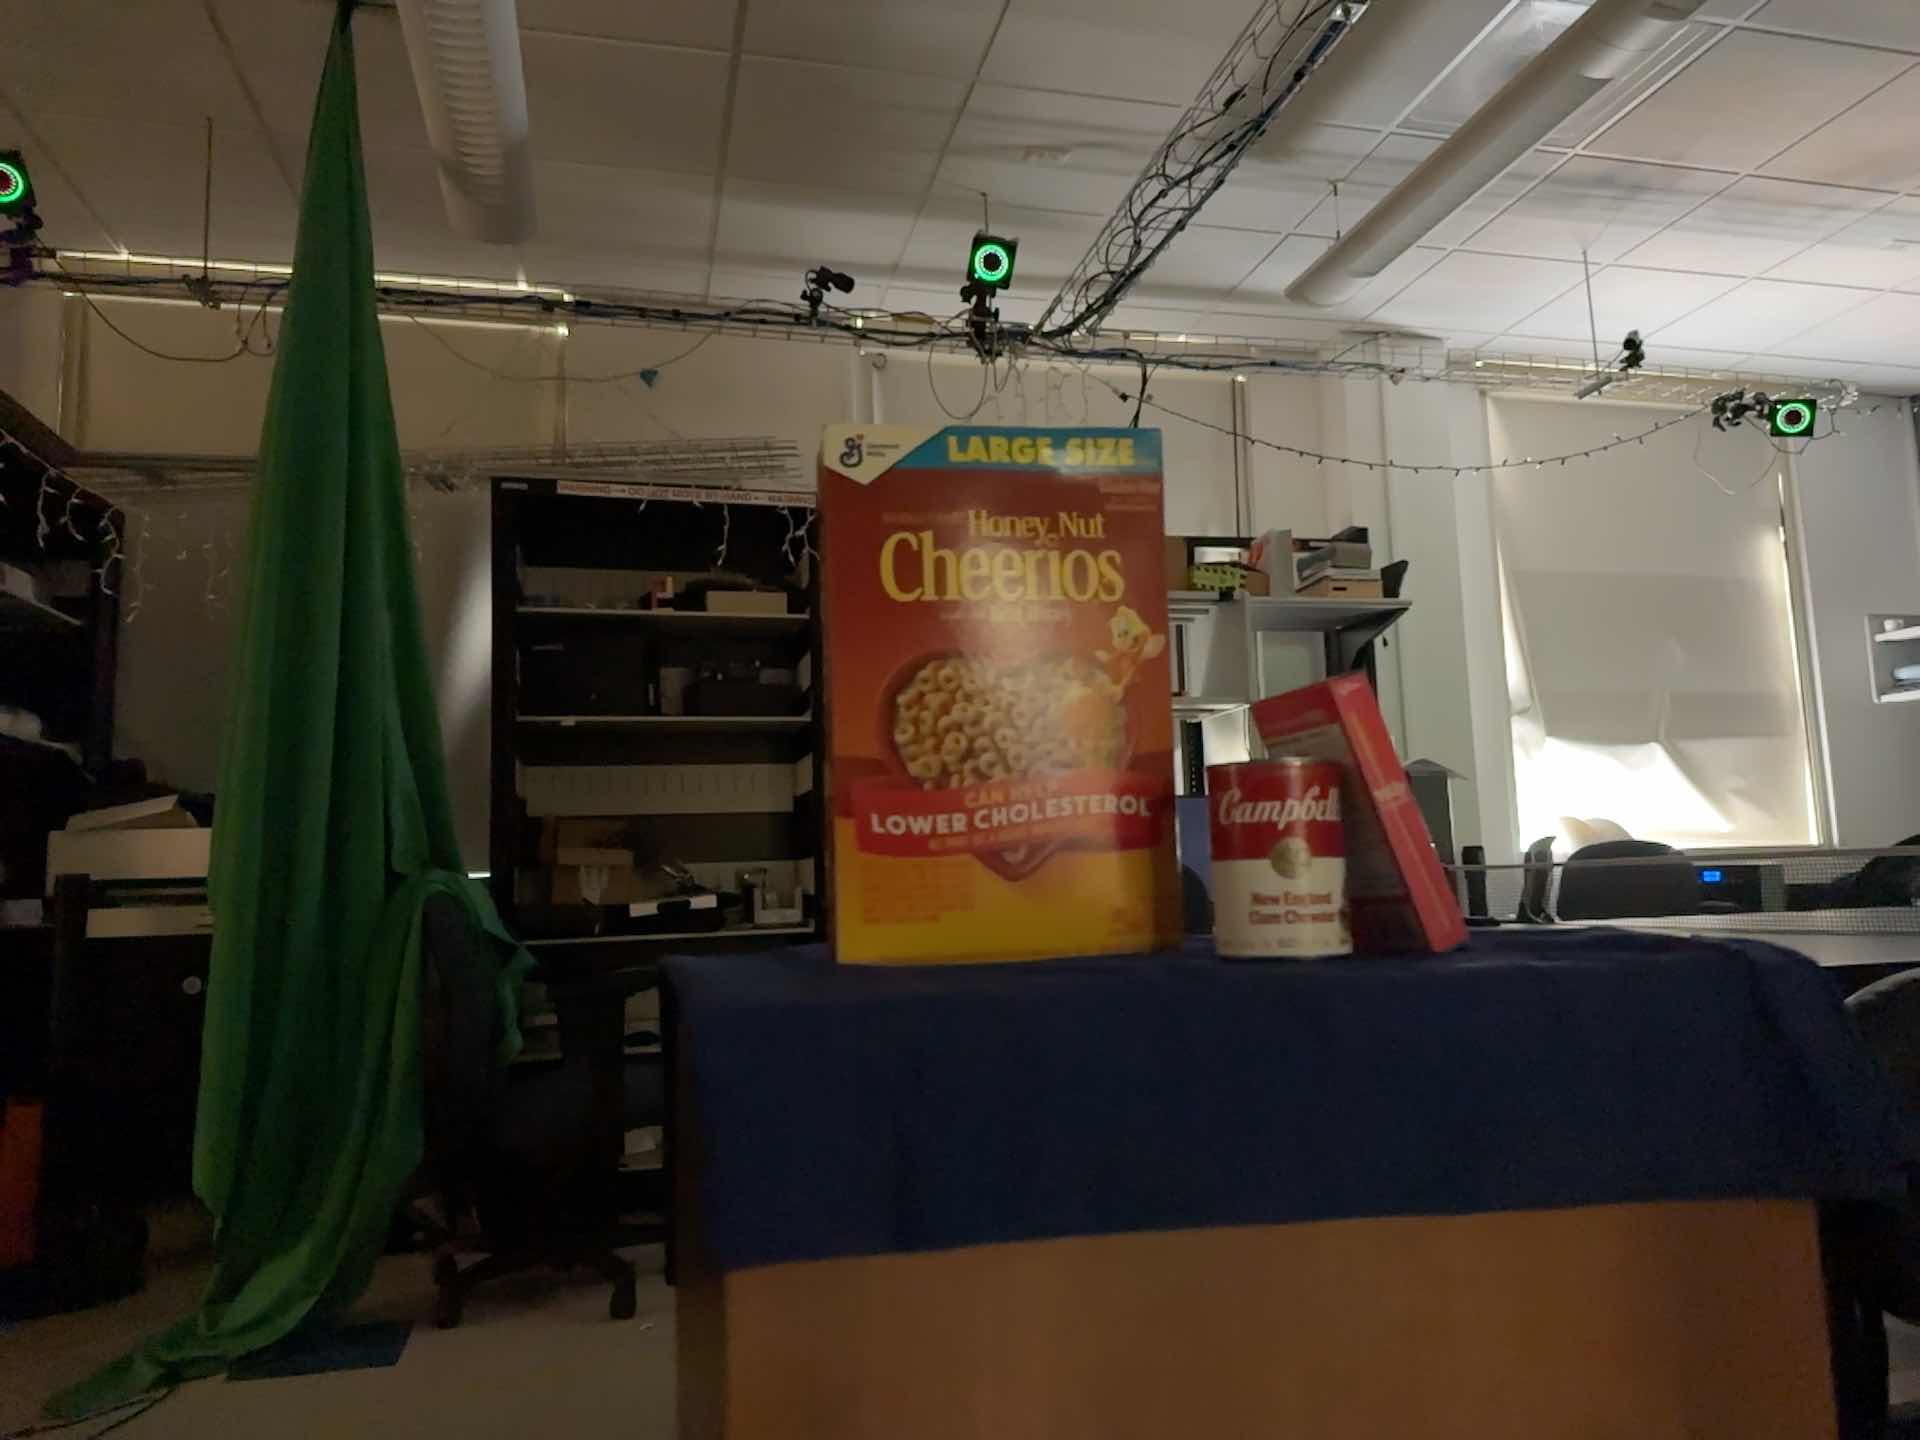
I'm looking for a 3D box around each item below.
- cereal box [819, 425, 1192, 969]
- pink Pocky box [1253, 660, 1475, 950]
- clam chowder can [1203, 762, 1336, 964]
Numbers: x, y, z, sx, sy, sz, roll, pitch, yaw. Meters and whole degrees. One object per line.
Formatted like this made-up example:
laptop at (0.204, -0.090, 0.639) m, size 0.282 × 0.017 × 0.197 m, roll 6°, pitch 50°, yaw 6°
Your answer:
cereal box at (0.022, -0.016, 0.780) m, size 0.195 × 0.297 × 0.065 m, roll -1°, pitch -6°, yaw -6°
pink Pocky box at (0.218, 0.048, 0.737) m, size 0.029 × 0.155 × 0.084 m, roll -21°, pitch -1°, yaw -19°
clam chowder can at (0.164, 0.075, 0.715) m, size 0.068 × 0.102 × 0.068 m, roll 1°, pitch -6°, yaw 0°
